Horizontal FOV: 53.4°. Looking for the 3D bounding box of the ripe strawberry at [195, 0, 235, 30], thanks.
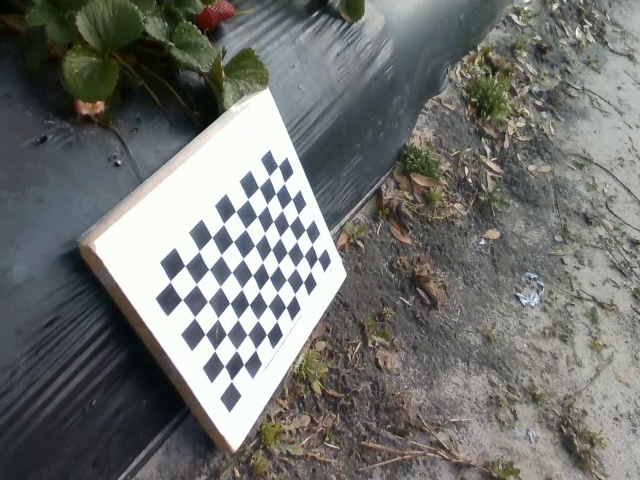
[{"bbox_3d":[-0.112,-0.255,0.687,0.043,0.050,0.064,-5,1,34],"label":"ripe strawberry"}]
